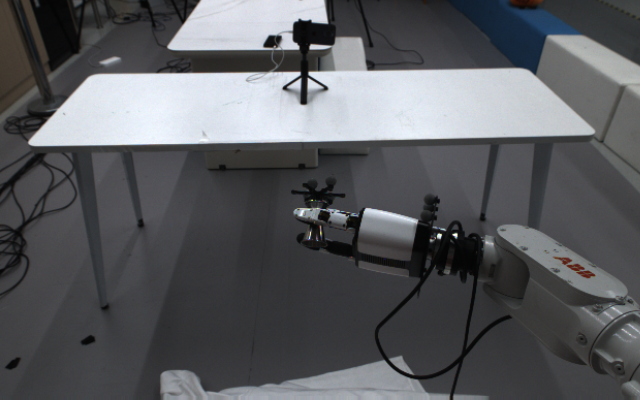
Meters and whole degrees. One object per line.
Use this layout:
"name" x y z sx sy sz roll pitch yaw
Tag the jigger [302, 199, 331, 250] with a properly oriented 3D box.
"jigger" -0.009 0.037 0.777 0.043 0.043 0.071 4 71 3
